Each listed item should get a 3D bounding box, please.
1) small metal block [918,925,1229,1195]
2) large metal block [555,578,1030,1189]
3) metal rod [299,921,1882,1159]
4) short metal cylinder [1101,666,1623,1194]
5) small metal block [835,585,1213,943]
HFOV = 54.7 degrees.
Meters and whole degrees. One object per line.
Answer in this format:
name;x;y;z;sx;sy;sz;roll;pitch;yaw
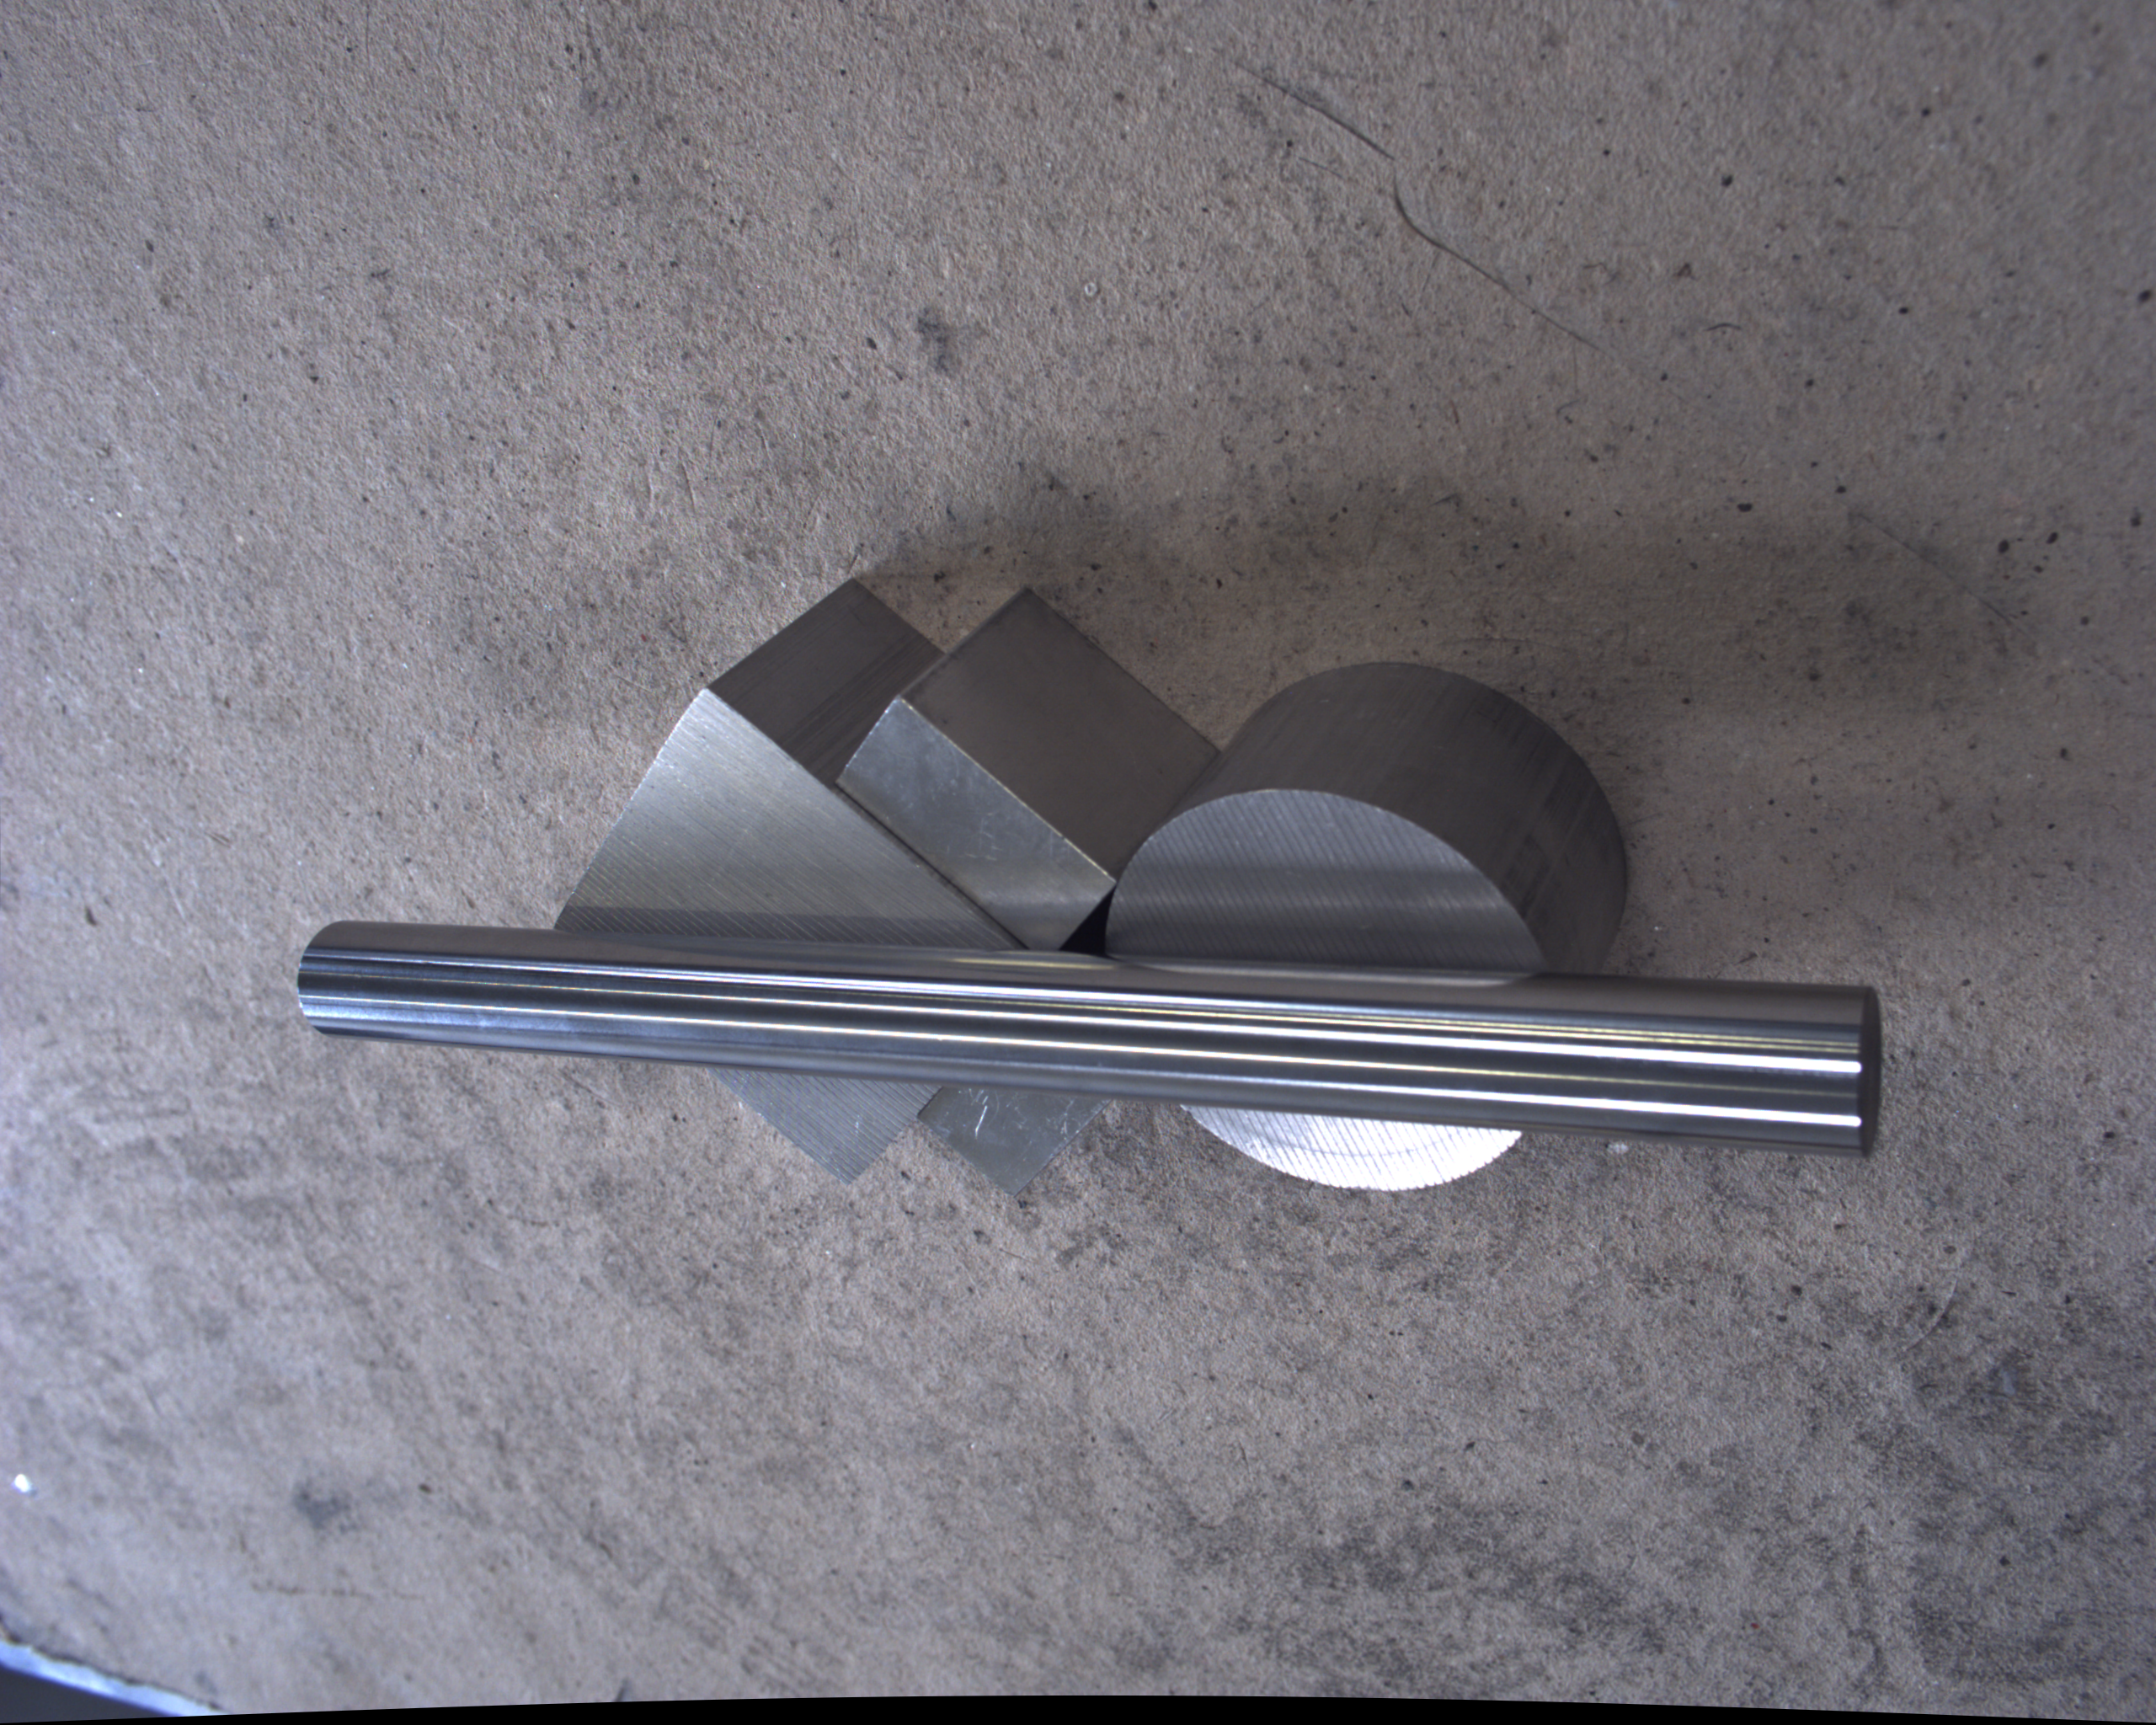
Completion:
small metal block;0.000;0.030;0.412;0.025;0.050;0.050;41;129;0
large metal block;-0.046;0.005;0.418;0.080;0.050;0.080;41;129;0
metal rod;-0.020;0.027;0.368;0.300;0.025;0.025;1;119;27
short metal cylinder;0.051;0.012;0.371;0.080;0.050;0.079;13;124;21
small metal block;-0.008;-0.018;0.386;0.050;0.050;0.025;40;129;0
